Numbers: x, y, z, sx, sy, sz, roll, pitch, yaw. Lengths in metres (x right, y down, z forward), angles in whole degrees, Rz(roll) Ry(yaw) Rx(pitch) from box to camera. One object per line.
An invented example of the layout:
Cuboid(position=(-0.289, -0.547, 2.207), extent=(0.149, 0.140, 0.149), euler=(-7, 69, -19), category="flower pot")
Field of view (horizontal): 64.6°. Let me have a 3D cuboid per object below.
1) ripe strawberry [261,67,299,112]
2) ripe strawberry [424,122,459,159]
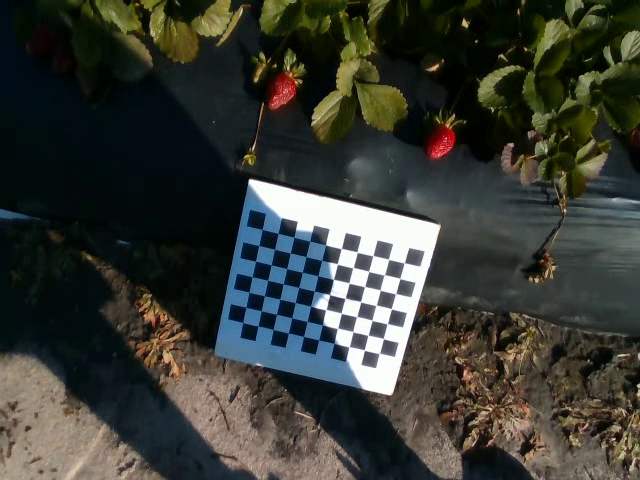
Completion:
Cuboid(position=(-0.053, -0.175, 0.620), extent=(0.041, 0.053, 0.043), euler=(24, -33, -7), category="ripe strawberry")
Cuboid(position=(0.145, -0.115, 0.621), extent=(0.043, 0.043, 0.050), euler=(-30, 17, 49), category="ripe strawberry")
